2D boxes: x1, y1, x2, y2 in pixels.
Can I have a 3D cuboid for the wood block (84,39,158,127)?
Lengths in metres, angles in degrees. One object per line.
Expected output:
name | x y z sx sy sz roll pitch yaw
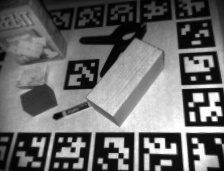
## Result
wood block | 0.023 -0.009 0.562 0.089 0.092 0.207 33 75 26

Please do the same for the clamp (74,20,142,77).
clamp | 0.001 -0.136 0.649 0.203 0.037 0.164 -30 64 -1

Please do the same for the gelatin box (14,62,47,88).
gelatin box | -0.252 -0.031 0.666 0.089 0.030 0.073 -3 68 12

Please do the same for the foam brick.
foam brick | -0.221 0.038 0.614 0.078 0.052 0.052 -25 65 2

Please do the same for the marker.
marker | -0.132 0.069 0.598 0.121 0.020 0.019 -20 65 4

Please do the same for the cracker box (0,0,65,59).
cracker box | -0.254 -0.163 0.613 0.163 0.215 0.071 -5 65 10
